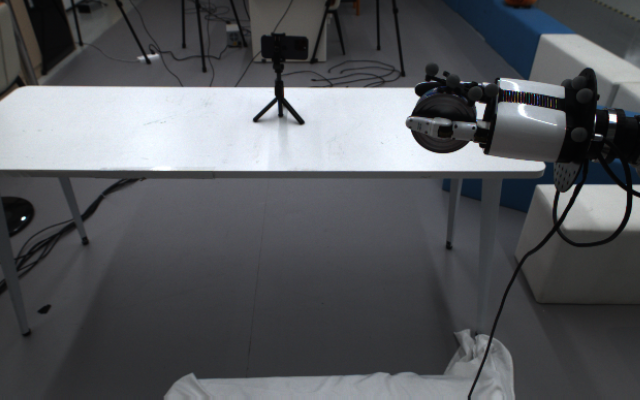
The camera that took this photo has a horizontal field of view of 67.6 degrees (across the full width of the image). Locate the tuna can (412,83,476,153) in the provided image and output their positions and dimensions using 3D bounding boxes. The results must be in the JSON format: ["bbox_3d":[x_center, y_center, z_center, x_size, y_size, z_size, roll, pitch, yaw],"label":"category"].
[{"bbox_3d":[0.168,-0.111,0.655,0.085,0.085,0.034,12,33,14],"label":"tuna can"}]
